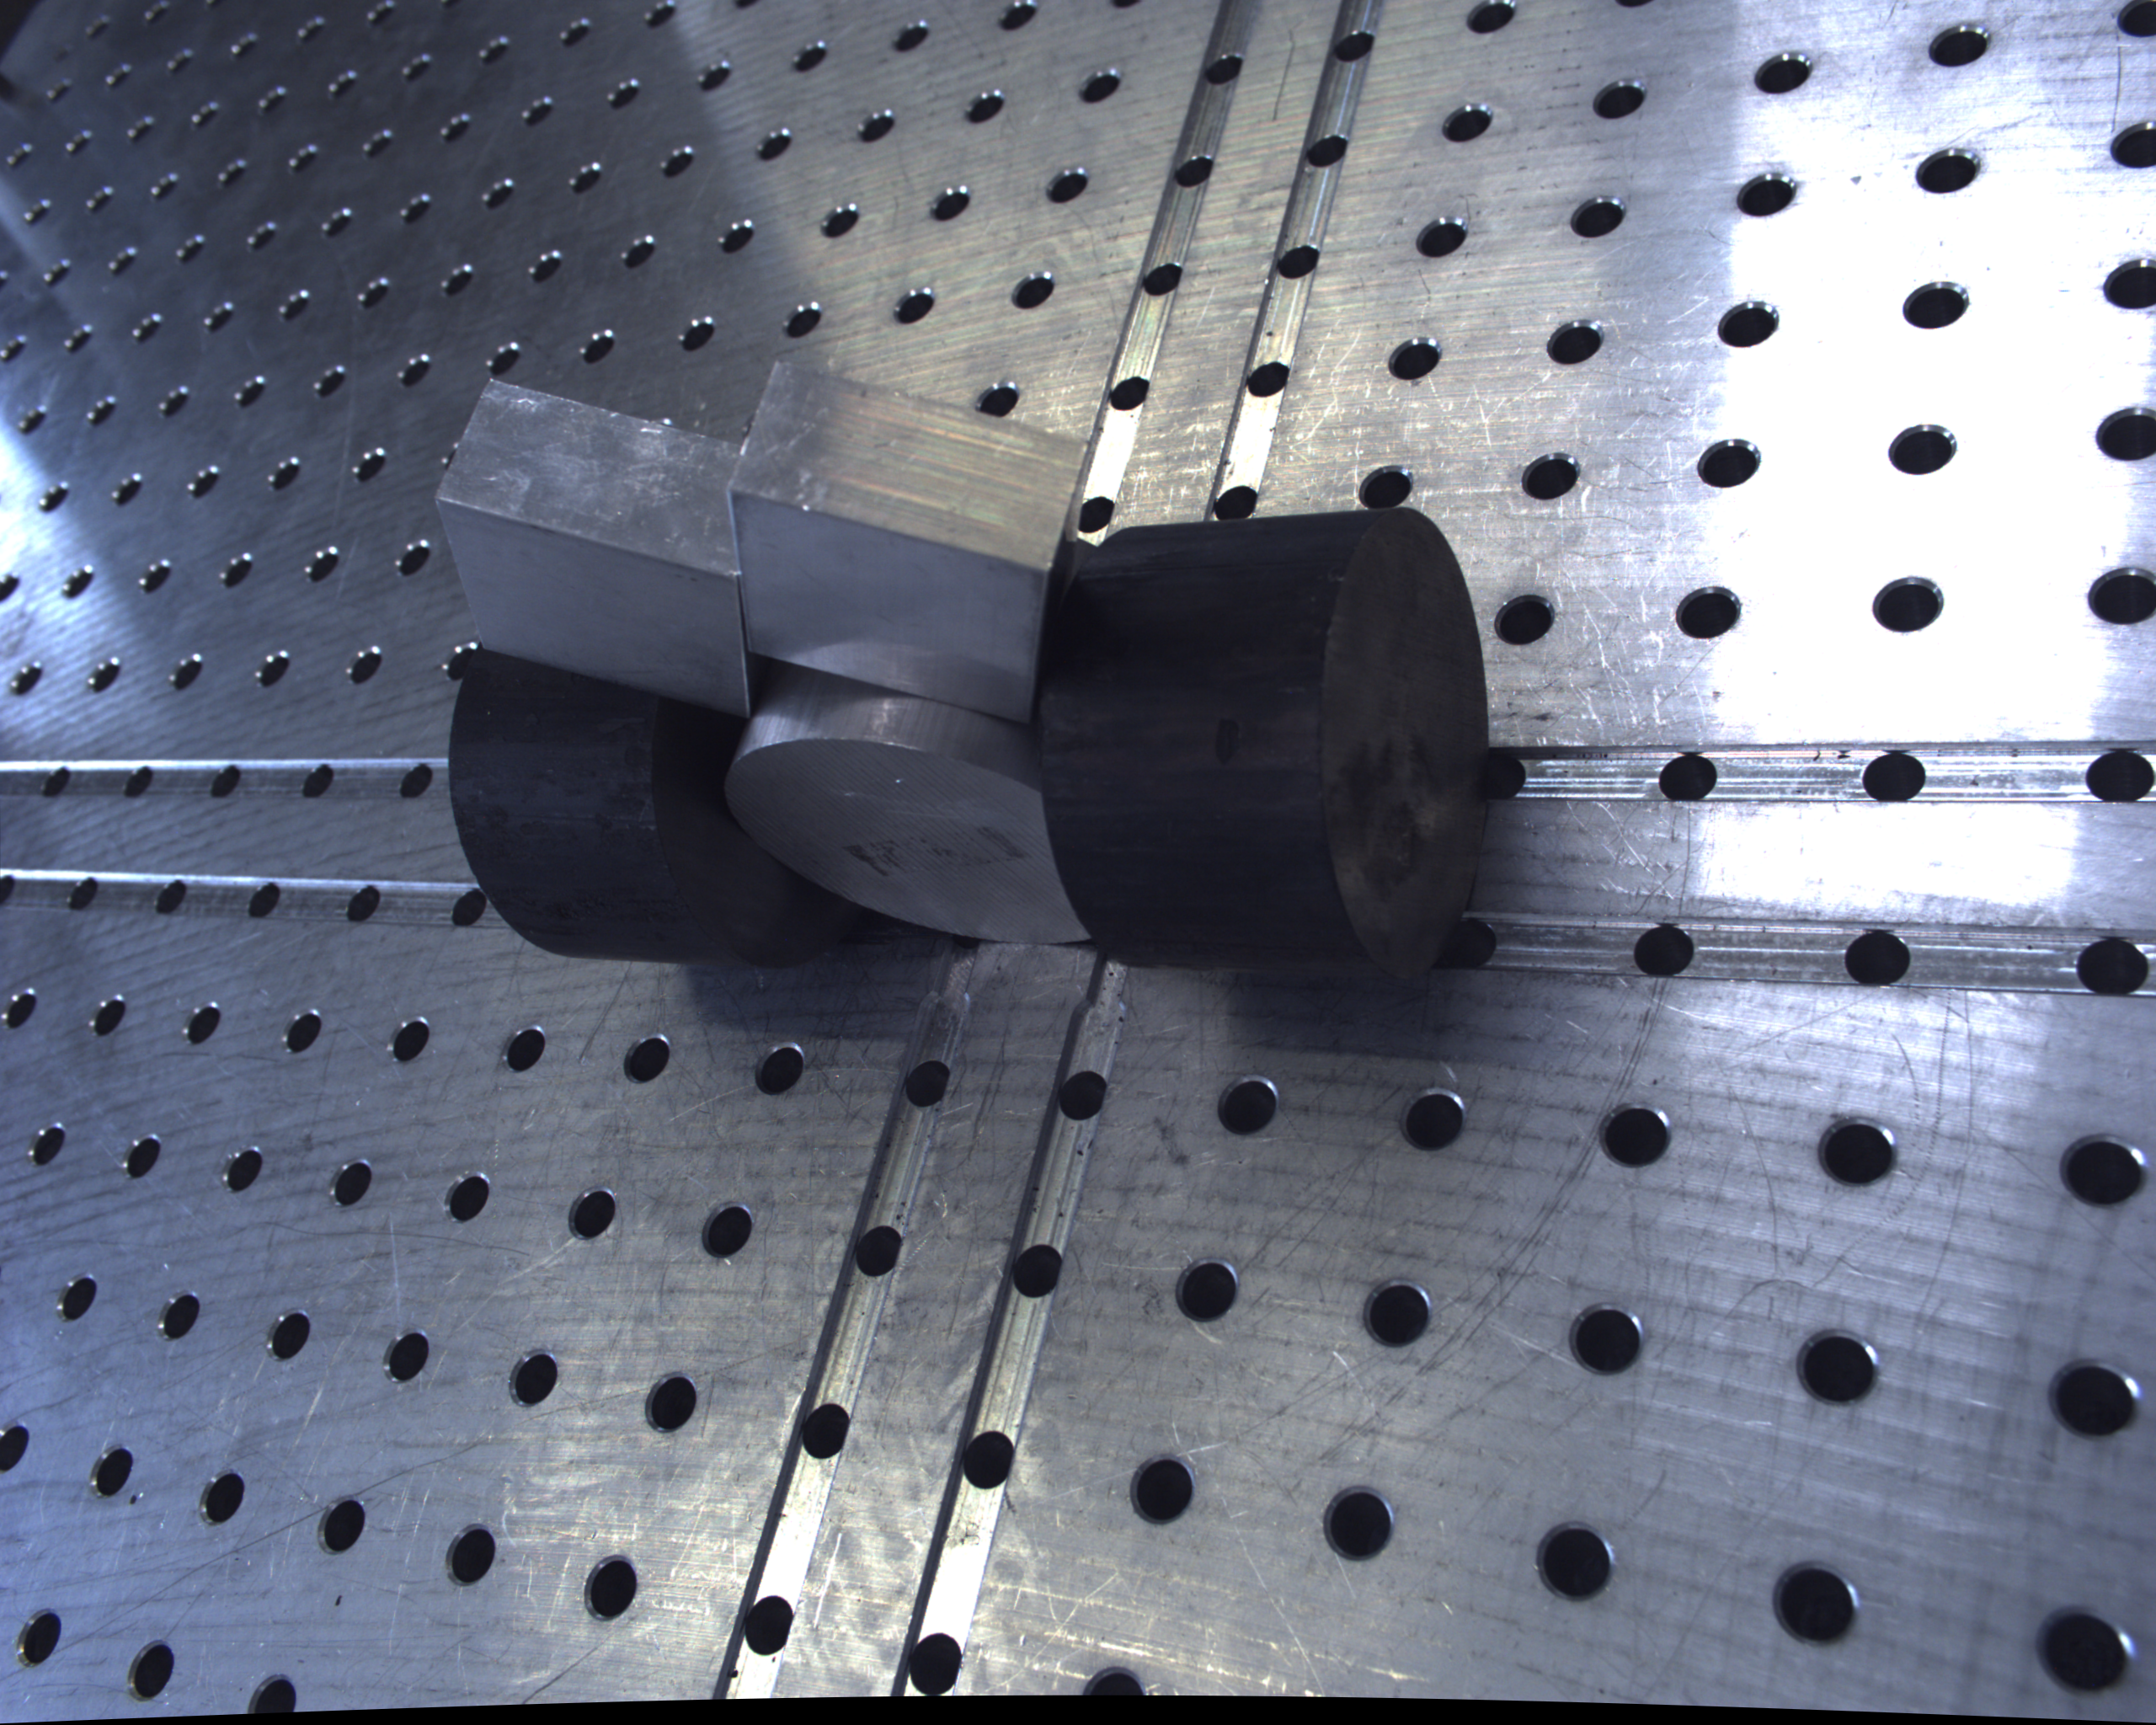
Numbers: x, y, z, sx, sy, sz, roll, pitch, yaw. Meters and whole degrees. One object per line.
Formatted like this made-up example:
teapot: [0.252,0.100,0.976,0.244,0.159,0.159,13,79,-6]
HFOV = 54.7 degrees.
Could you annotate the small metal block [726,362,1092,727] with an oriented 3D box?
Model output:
small metal block: [-0.027,-0.050,0.339,0.050,0.050,0.025,14,66,1]

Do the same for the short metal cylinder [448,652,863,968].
short metal cylinder: [-0.080,-0.019,0.426,0.050,0.080,0.080,1,62,29]

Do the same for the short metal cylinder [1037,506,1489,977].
short metal cylinder: [0.035,-0.021,0.366,0.050,0.080,0.080,0,62,29]

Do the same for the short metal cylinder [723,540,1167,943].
short metal cylinder: [-0.021,-0.024,0.399,0.080,0.080,0.050,1,63,29]

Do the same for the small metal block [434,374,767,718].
small metal block: [-0.078,-0.053,0.362,0.050,0.050,0.025,15,66,0]
